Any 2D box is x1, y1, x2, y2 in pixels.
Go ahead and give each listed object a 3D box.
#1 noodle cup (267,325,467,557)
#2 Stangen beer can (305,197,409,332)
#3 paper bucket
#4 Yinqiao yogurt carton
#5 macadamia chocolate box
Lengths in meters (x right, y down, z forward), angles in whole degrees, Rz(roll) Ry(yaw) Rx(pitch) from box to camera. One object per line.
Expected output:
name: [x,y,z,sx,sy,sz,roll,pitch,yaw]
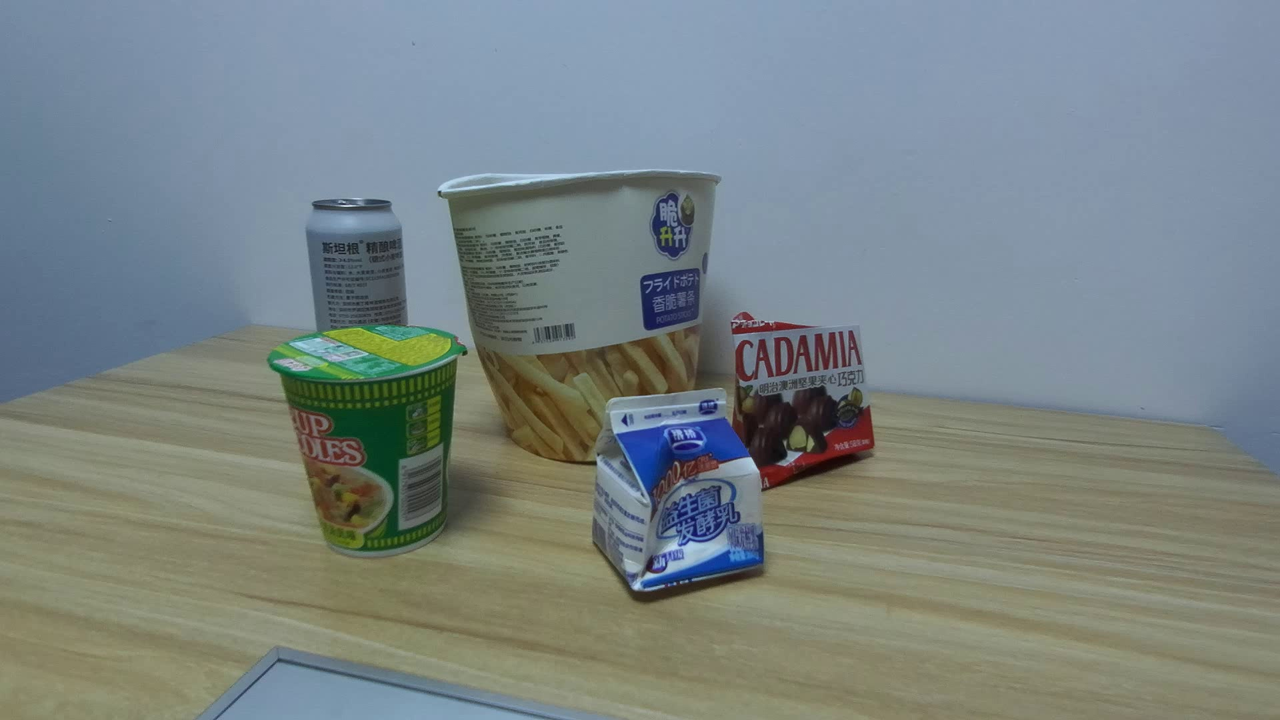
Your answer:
noodle cup: [-0.144,0.045,0.391,0.097,0.110,0.097,1,17,0]
Stangen beer can: [-0.211,-0.035,0.538,0.067,0.171,0.067,1,18,0]
paper bucket: [-0.031,-0.041,0.529,0.147,0.199,0.218,7,18,17]
Yinqiao yogurt carton: [0.017,0.063,0.379,0.078,0.094,0.071,-5,12,-23]
macadamia chocolate box: [0.110,0.021,0.494,0.127,0.112,0.056,-8,19,-29]
